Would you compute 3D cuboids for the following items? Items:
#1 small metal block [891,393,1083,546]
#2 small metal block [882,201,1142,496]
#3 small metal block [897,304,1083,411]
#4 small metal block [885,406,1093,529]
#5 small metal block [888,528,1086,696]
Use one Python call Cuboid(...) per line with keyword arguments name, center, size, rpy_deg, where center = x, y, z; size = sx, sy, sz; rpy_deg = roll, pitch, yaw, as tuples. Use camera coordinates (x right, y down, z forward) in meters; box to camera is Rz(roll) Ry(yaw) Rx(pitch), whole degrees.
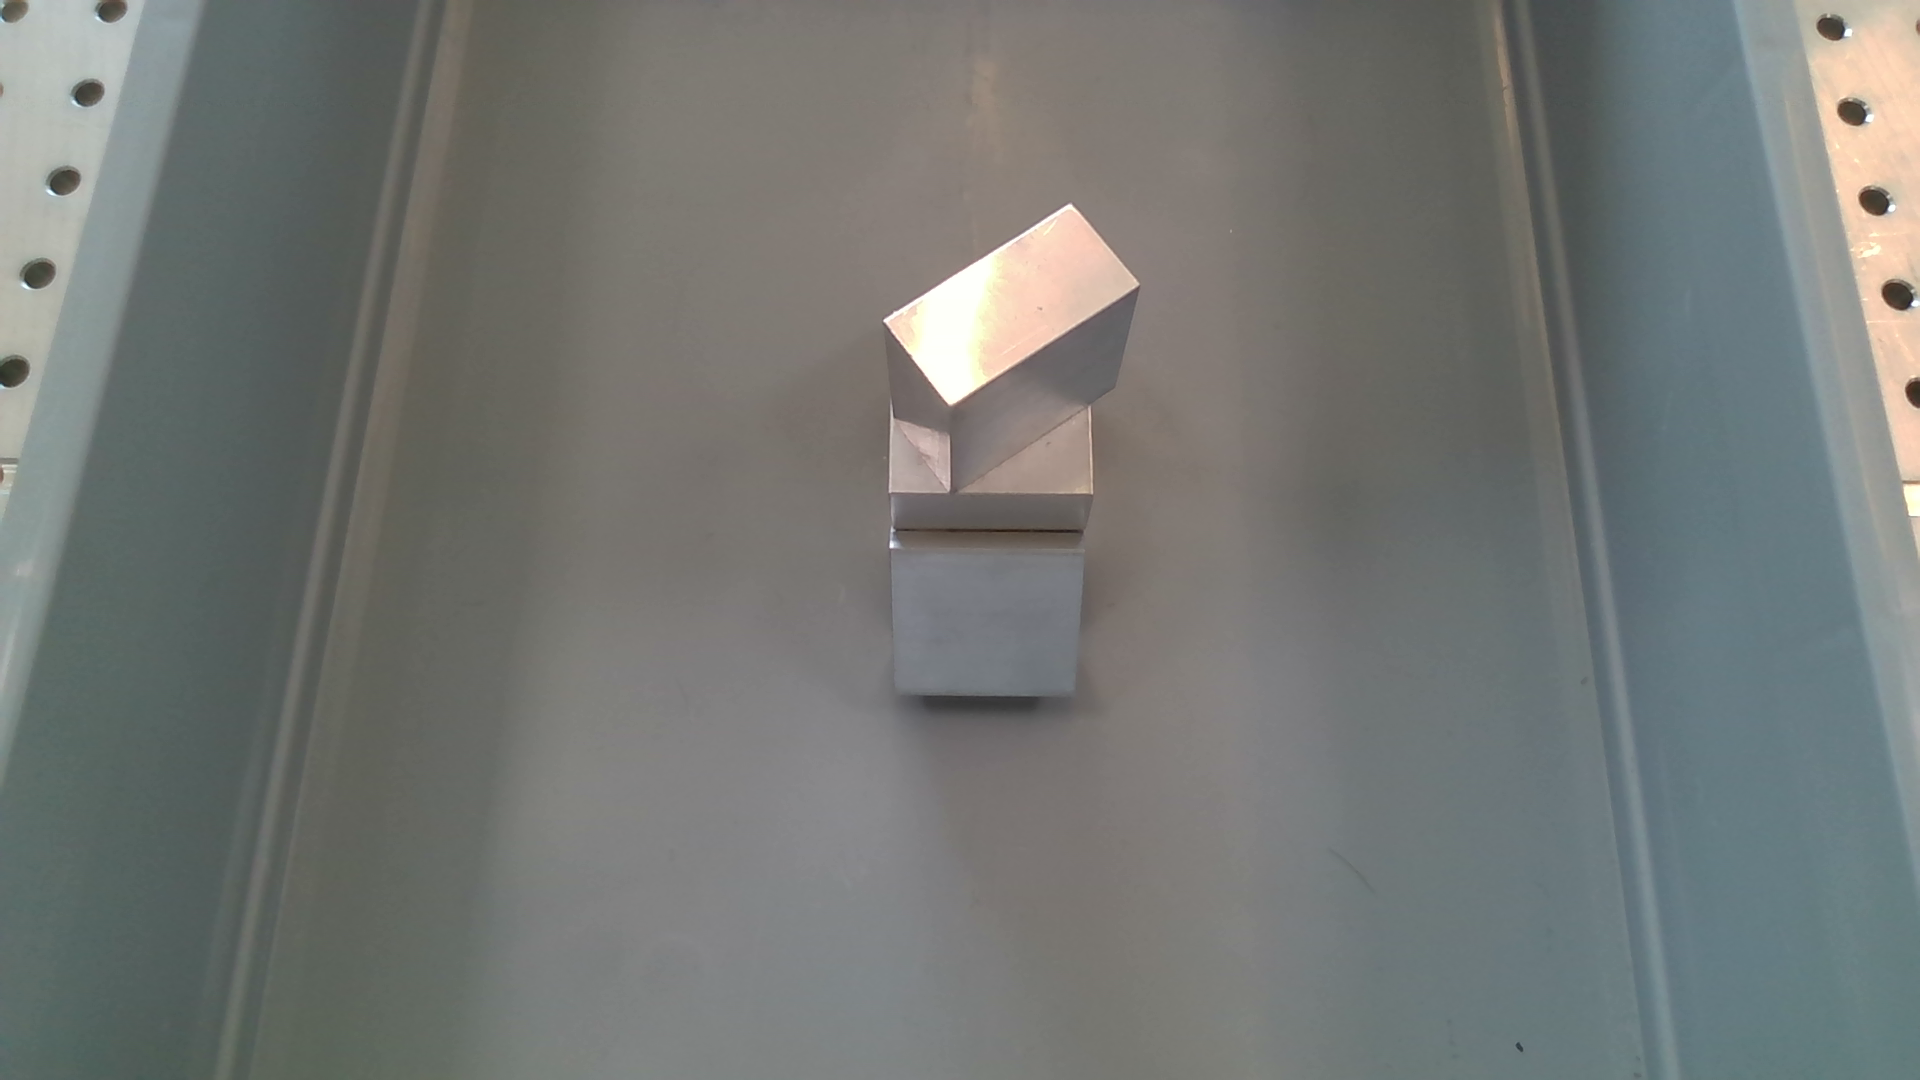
Cuboid(name="small metal block", center=(0.007, -0.019, 0.387), size=(0.050, 0.050, 0.025), rpy_deg=(1, 70, 0))
Cuboid(name="small metal block", center=(0.011, -0.042, 0.315), size=(0.050, 0.050, 0.025), rpy_deg=(-33, 73, -11))
Cuboid(name="small metal block", center=(0.008, -0.053, 0.397), size=(0.050, 0.050, 0.025), rpy_deg=(0, 104, 0))
Cuboid(name="small metal block", center=(0.007, -0.031, 0.351), size=(0.050, 0.025, 0.050), rpy_deg=(1, 70, 0))
Cuboid(name="small metal block", center=(0.007, 0.015, 0.373), size=(0.050, 0.050, 0.025), rpy_deg=(0, 36, 0))
